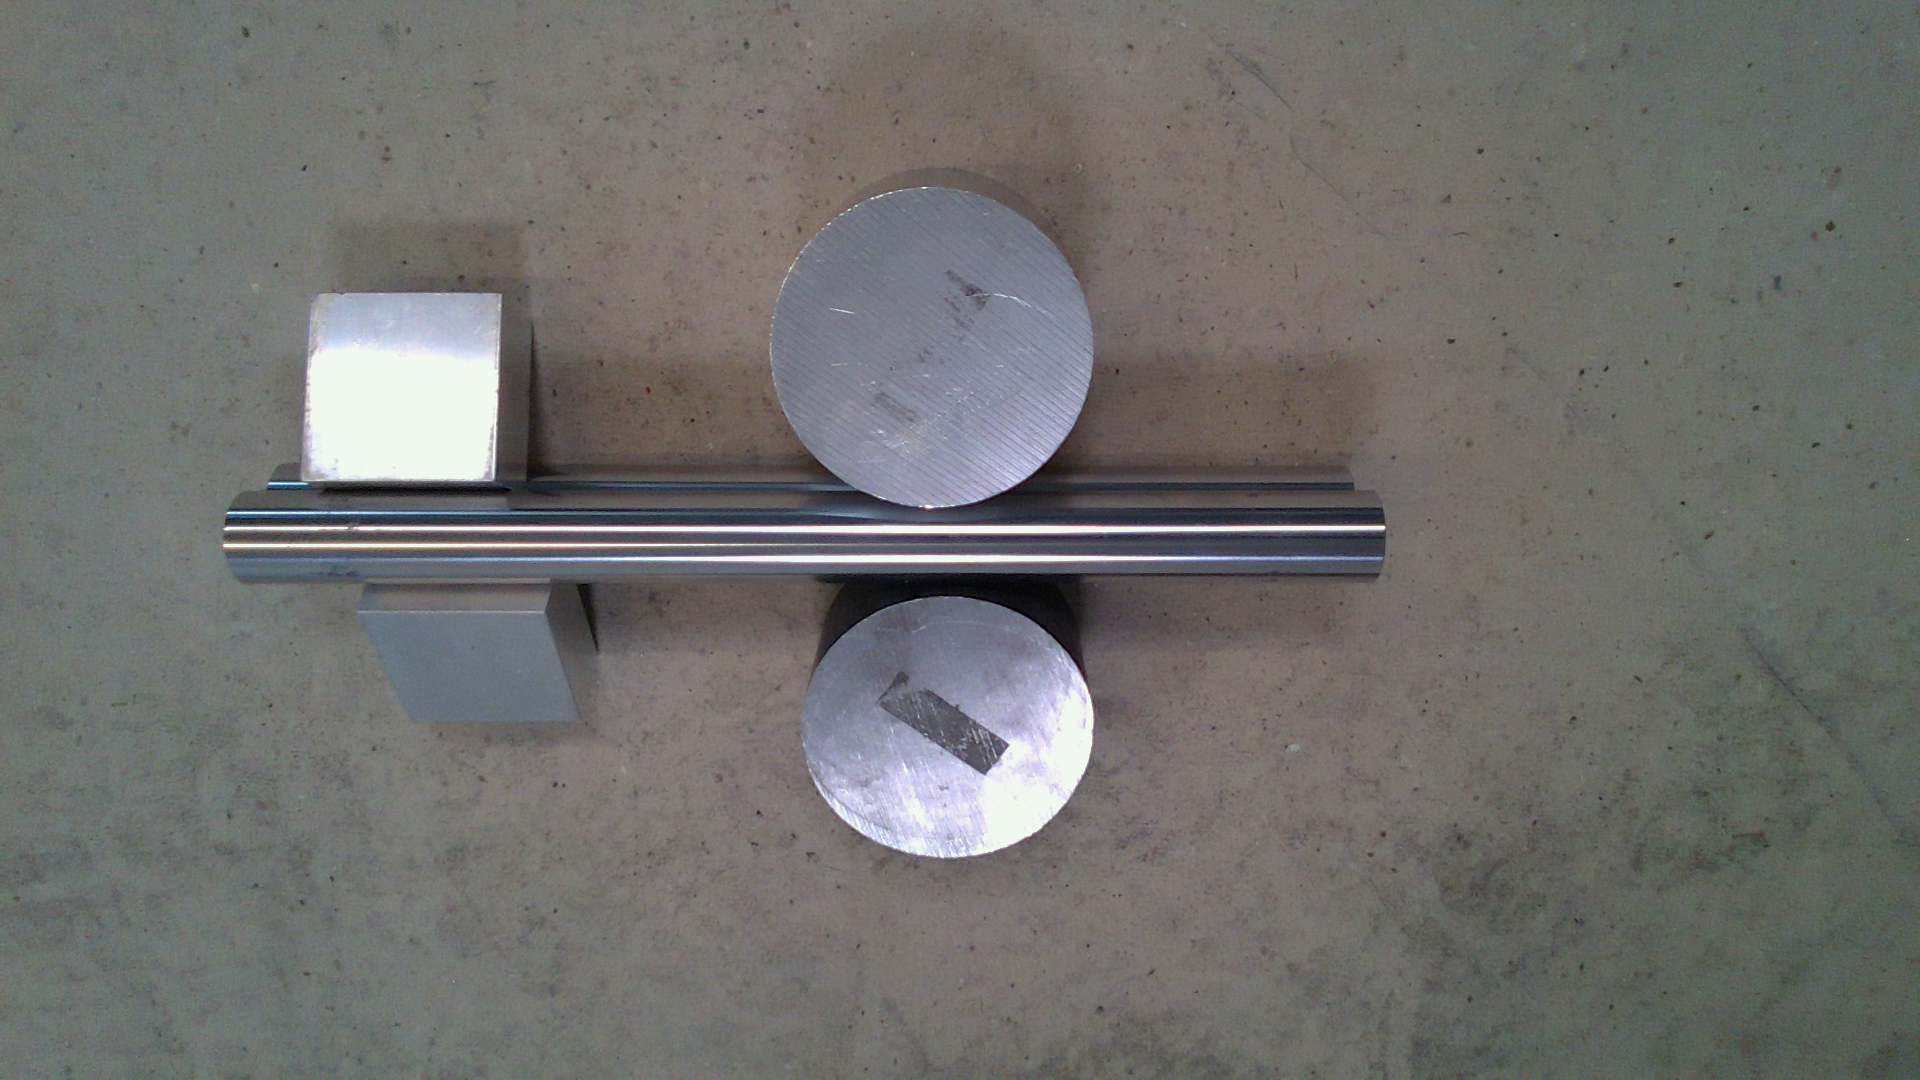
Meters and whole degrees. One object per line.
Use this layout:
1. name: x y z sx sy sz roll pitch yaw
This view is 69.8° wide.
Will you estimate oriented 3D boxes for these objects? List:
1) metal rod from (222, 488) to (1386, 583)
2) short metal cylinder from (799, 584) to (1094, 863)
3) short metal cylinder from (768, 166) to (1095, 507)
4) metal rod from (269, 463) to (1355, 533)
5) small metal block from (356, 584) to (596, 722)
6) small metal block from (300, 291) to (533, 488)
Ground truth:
1. metal rod: -0.040 -0.001 0.367 0.300 0.025 0.025 0 110 0
2. short metal cylinder: -0.004 0.045 0.397 0.080 0.050 0.080 0 110 0
3. short metal cylinder: -0.007 -0.055 0.360 0.080 0.050 0.080 0 110 0
4. metal rod: -0.041 -0.009 0.390 0.300 0.025 0.025 0 110 0
5. small metal block: -0.136 0.027 0.393 0.050 0.025 0.050 0 137 -1
6. small metal block: -0.144 -0.039 0.369 0.050 0.025 0.050 0 83 0
